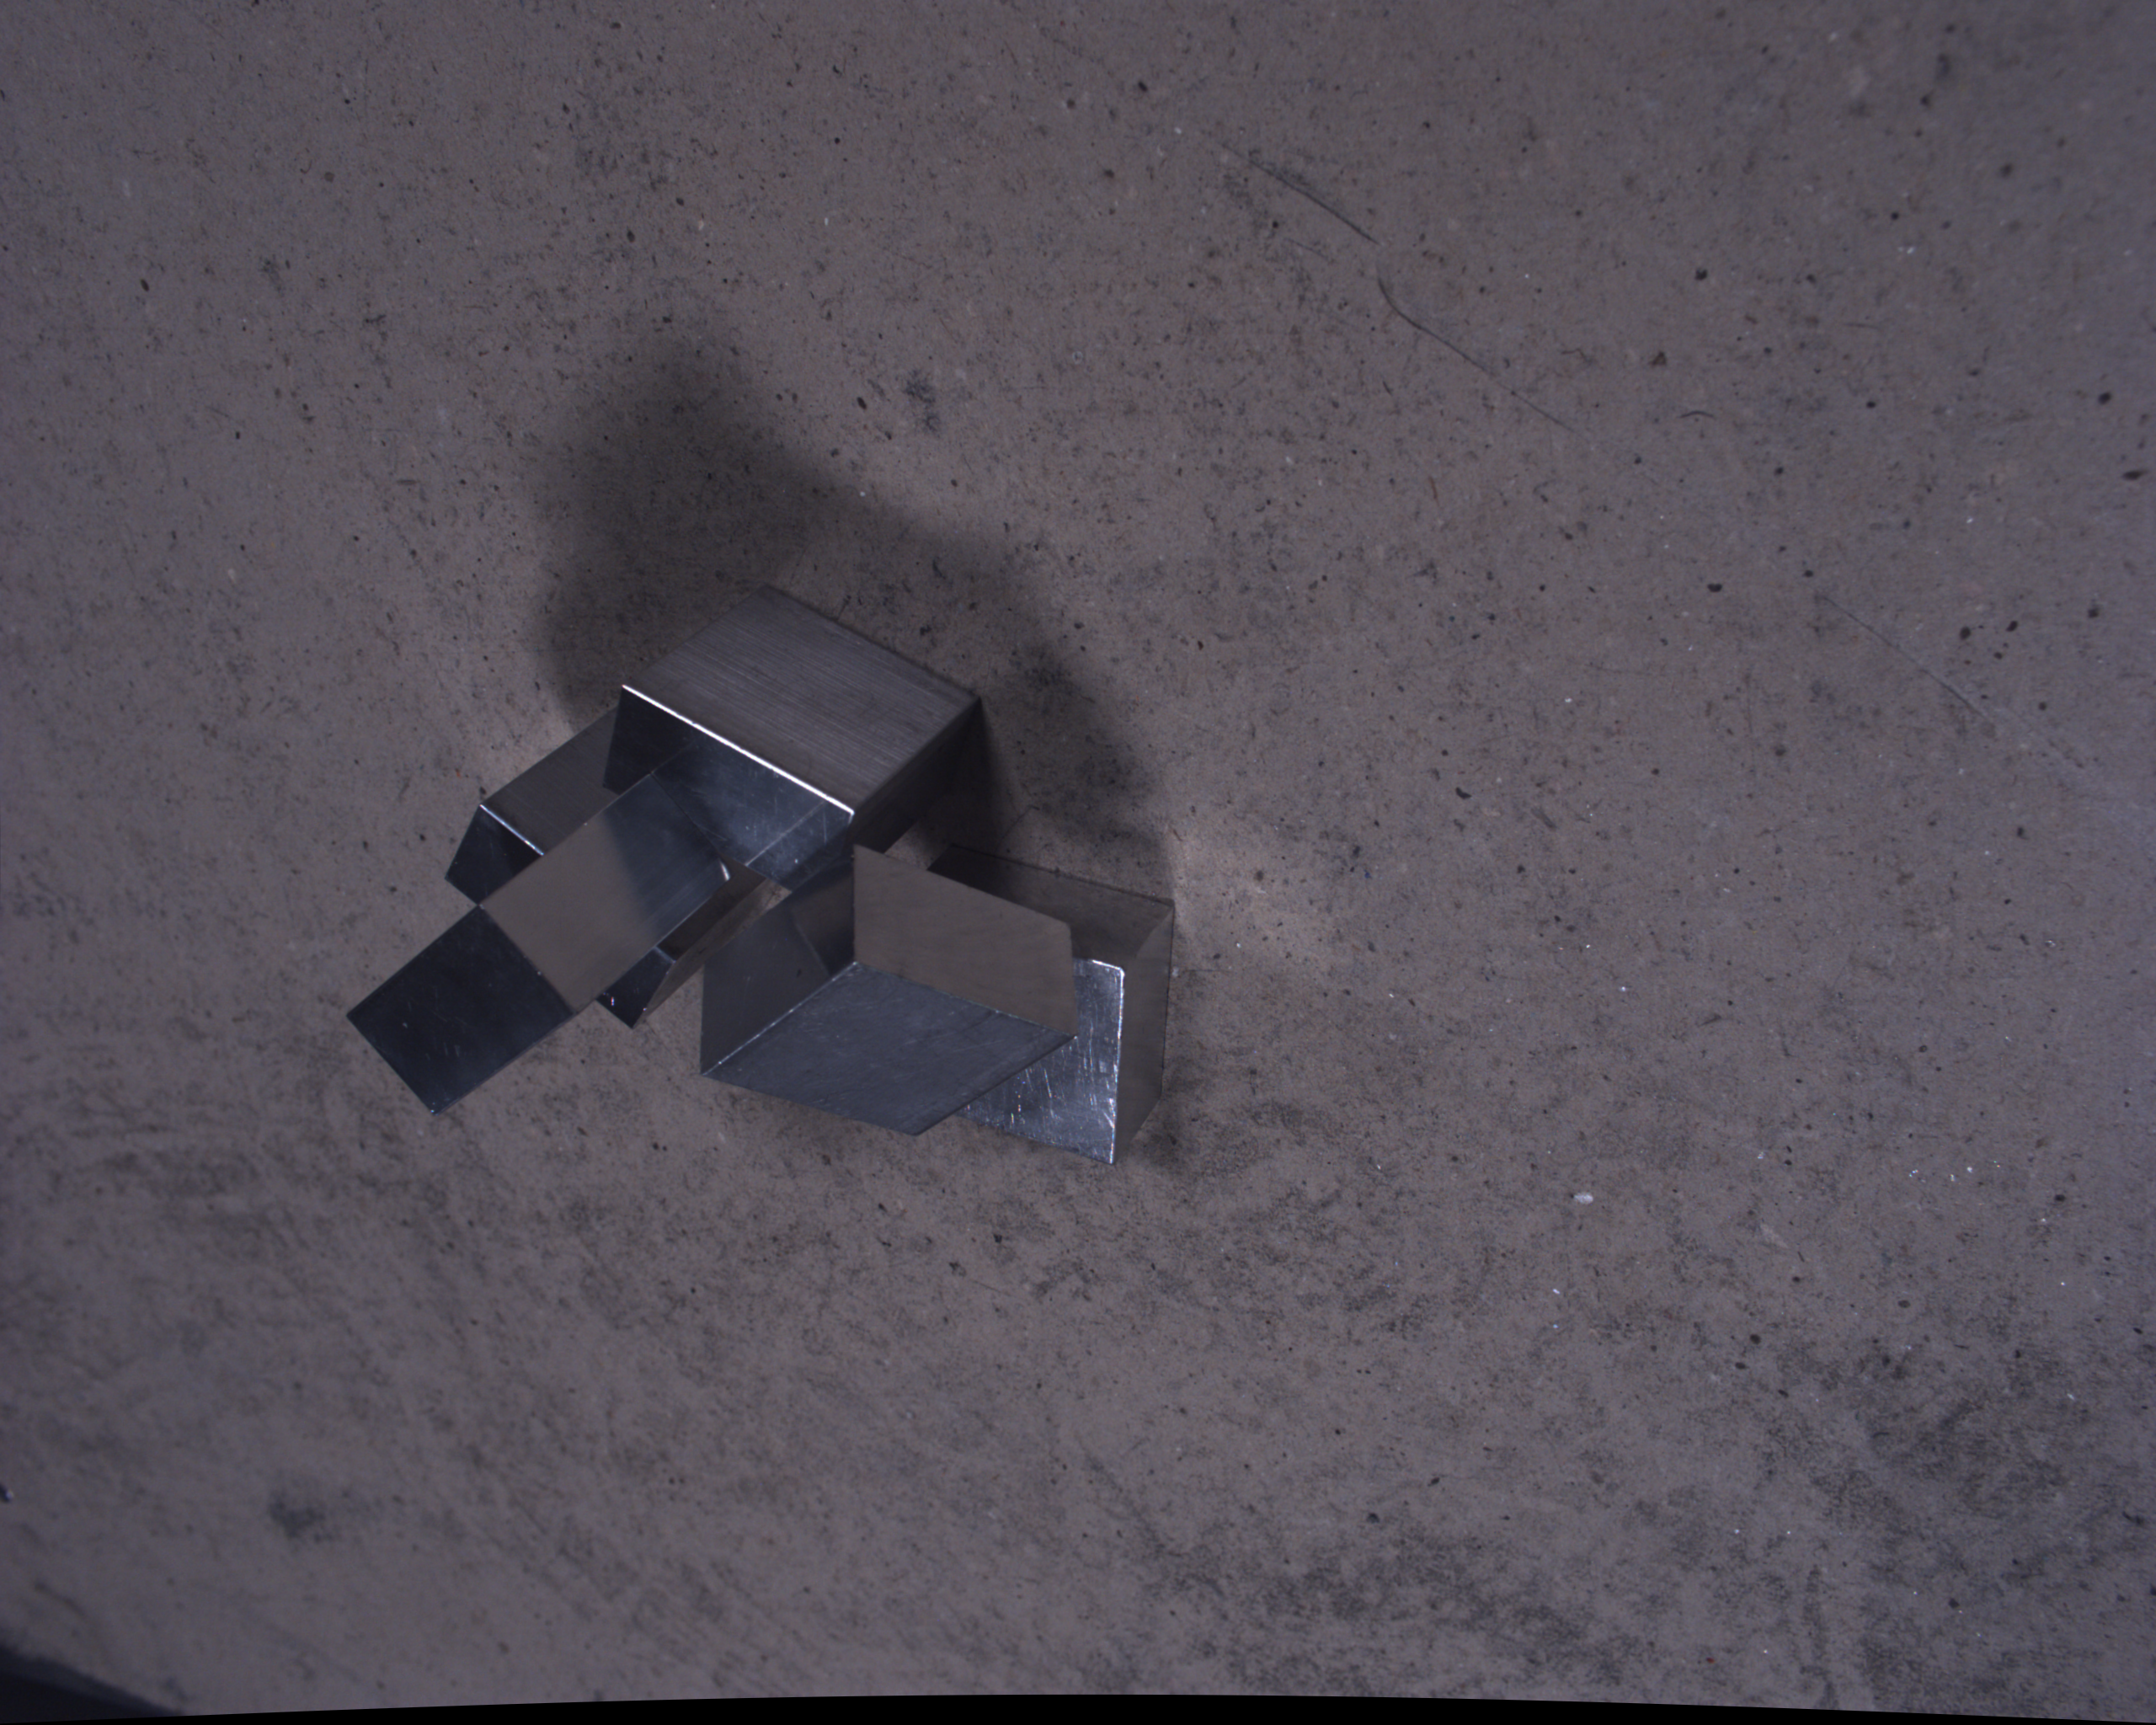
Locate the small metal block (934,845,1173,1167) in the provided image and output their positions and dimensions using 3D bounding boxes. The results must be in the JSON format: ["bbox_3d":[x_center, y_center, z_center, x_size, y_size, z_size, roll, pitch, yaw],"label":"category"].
[{"bbox_3d":[-0.010,0.029,0.430,0.050,0.025,0.050,15,125,19],"label":"small metal block"}]

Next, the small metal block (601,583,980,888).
[{"bbox_3d":[-0.055,-0.024,0.405,0.050,0.050,0.025,28,128,10],"label":"small metal block"}]

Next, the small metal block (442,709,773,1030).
[{"bbox_3d":[-0.095,-0.001,0.440,0.050,0.050,0.025,39,129,2],"label":"small metal block"}]

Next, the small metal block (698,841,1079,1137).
[{"bbox_3d":[-0.036,0.025,0.393,0.050,0.025,0.050,22,139,-35],"label":"small metal block"}]

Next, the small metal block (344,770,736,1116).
[{"bbox_3d":[-0.099,0.015,0.387,0.050,0.050,0.025,-33,100,38],"label":"small metal block"}]
